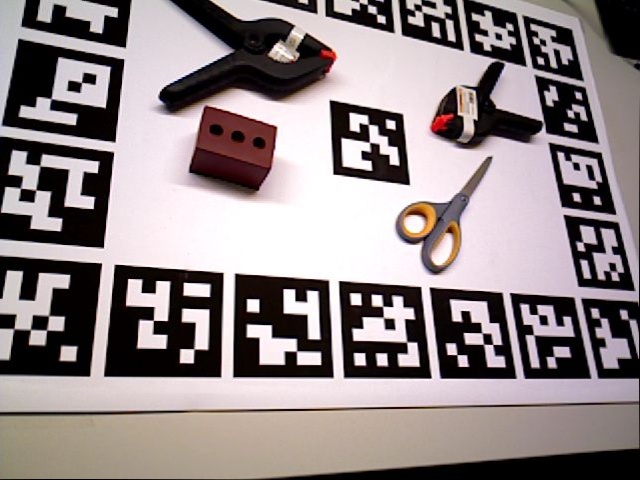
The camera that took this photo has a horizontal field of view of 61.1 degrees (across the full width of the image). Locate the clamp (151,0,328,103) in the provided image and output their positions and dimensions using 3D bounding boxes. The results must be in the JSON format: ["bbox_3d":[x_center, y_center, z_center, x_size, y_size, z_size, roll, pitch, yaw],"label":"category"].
[{"bbox_3d":[-0.088,-0.217,0.612,0.200,0.037,0.164,2,69,-22],"label":"clamp"}]

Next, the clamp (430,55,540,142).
[{"bbox_3d":[0.213,-0.176,0.720,0.162,0.037,0.122,-24,89,-26],"label":"clamp"}]

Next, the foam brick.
[{"bbox_3d":[-0.098,-0.091,0.559,0.077,0.052,0.052,12,69,-13],"label":"foam brick"}]

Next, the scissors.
[{"bbox_3d":[0.159,-0.044,0.657,0.088,0.016,0.198,46,61,-10],"label":"scissors"}]
